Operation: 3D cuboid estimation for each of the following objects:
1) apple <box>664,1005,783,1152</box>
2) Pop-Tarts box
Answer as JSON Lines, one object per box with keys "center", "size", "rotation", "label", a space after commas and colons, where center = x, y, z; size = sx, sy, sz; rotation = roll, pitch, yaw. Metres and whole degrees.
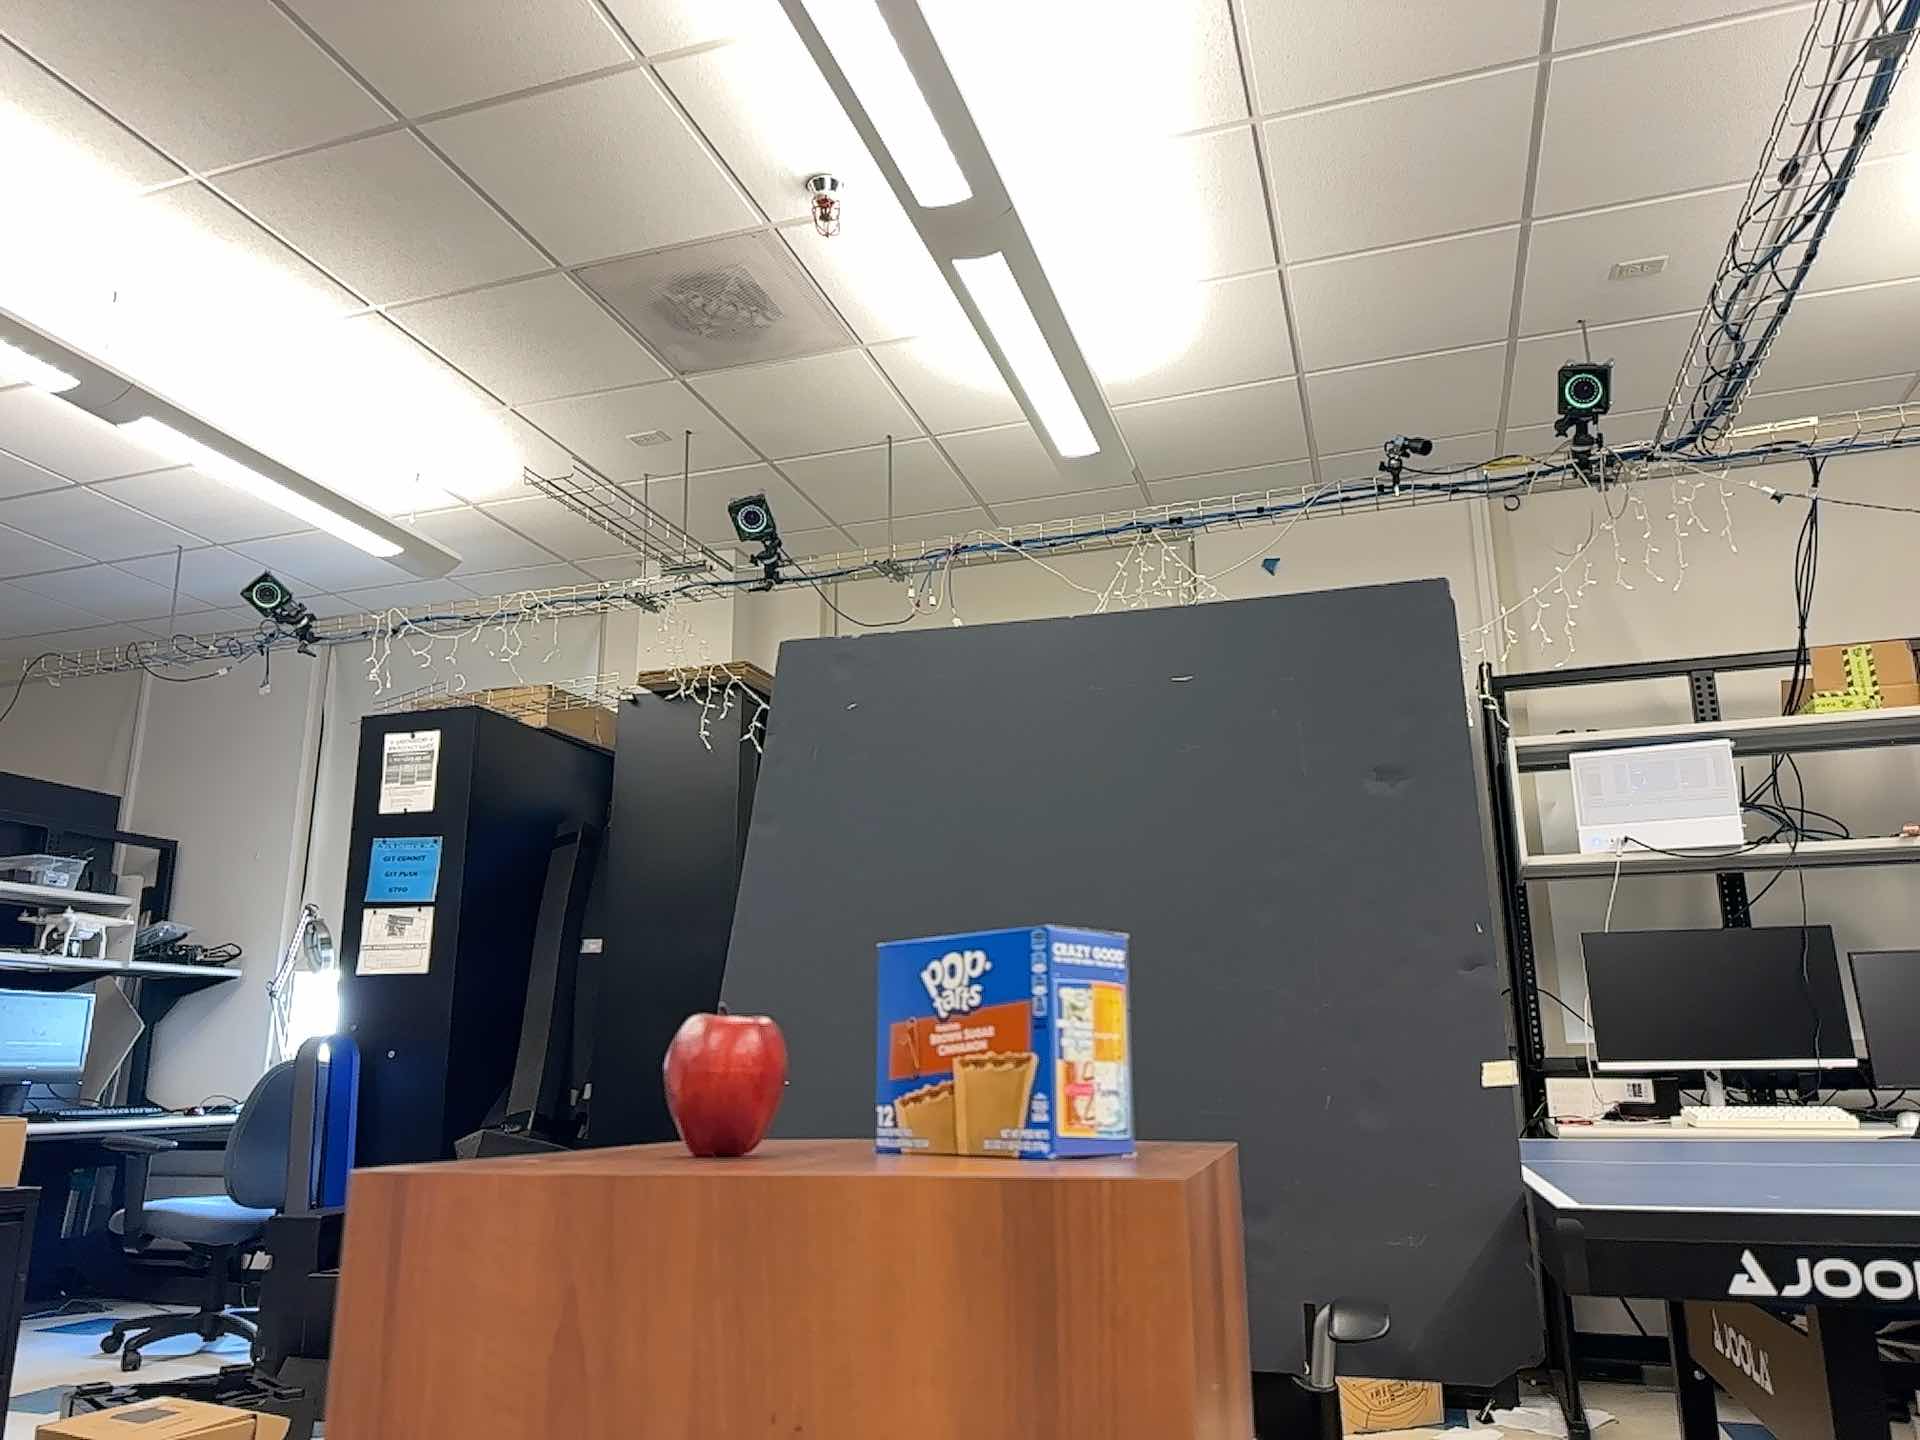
{"center": [-0.160, 0.237, 0.894], "size": [0.079, 0.093, 0.079], "rotation": [0, -14, 0], "label": "apple"}
{"center": [0.027, 0.218, 0.903], "size": [0.075, 0.135, 0.161], "rotation": [14, -21, -41], "label": "Pop-Tarts box"}
